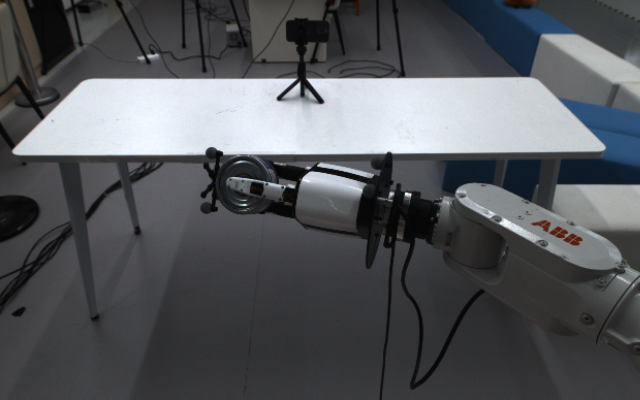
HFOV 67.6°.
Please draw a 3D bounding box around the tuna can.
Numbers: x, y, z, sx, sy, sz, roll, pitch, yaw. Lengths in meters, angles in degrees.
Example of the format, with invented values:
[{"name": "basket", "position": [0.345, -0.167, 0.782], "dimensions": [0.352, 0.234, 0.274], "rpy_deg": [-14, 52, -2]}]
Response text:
[{"name": "tuna can", "position": [-0.101, -0.022, 0.689], "dimensions": [0.085, 0.085, 0.034], "rpy_deg": [10, 3, 11]}]
